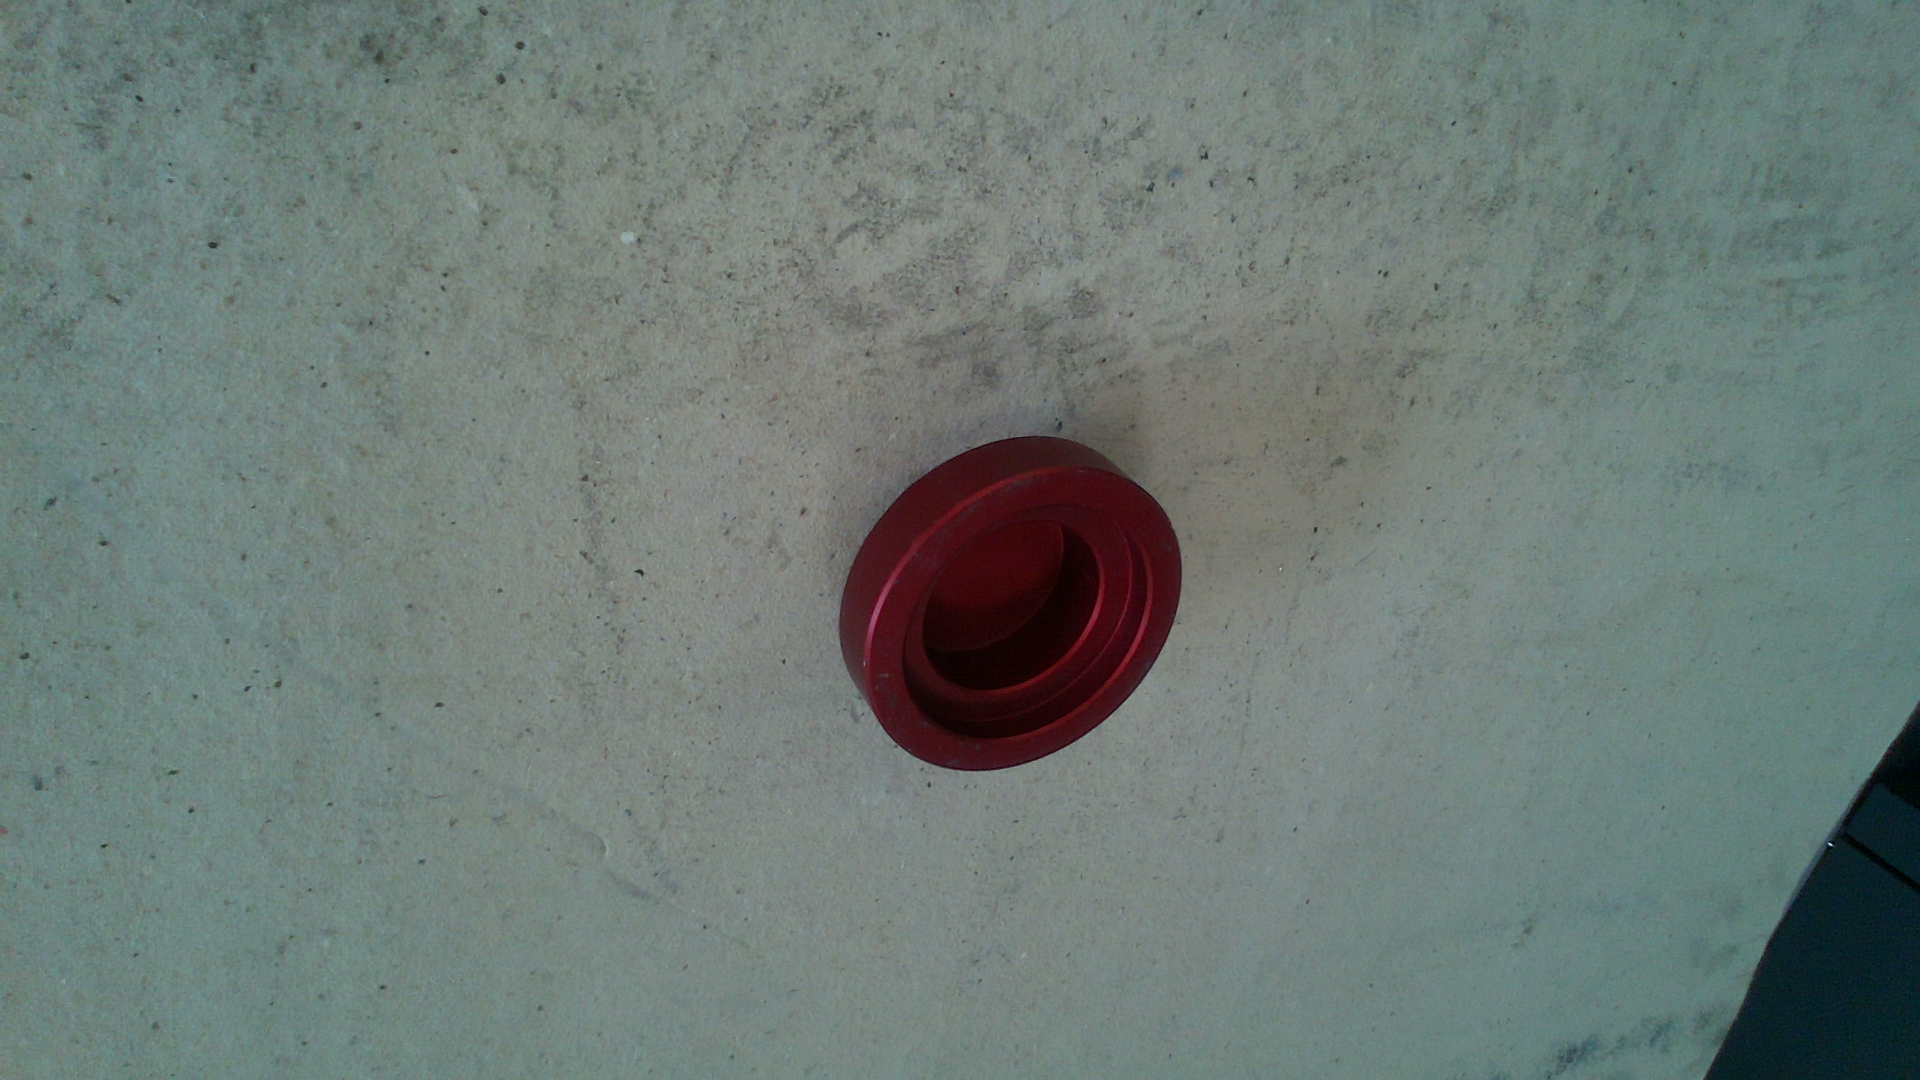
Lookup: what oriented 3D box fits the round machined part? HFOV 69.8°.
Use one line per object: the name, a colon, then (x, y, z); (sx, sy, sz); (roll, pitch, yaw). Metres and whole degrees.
round machined part: (0.011, 0.014, 0.393); (0.098, 0.042, 0.098); (-14, 124, -21)
